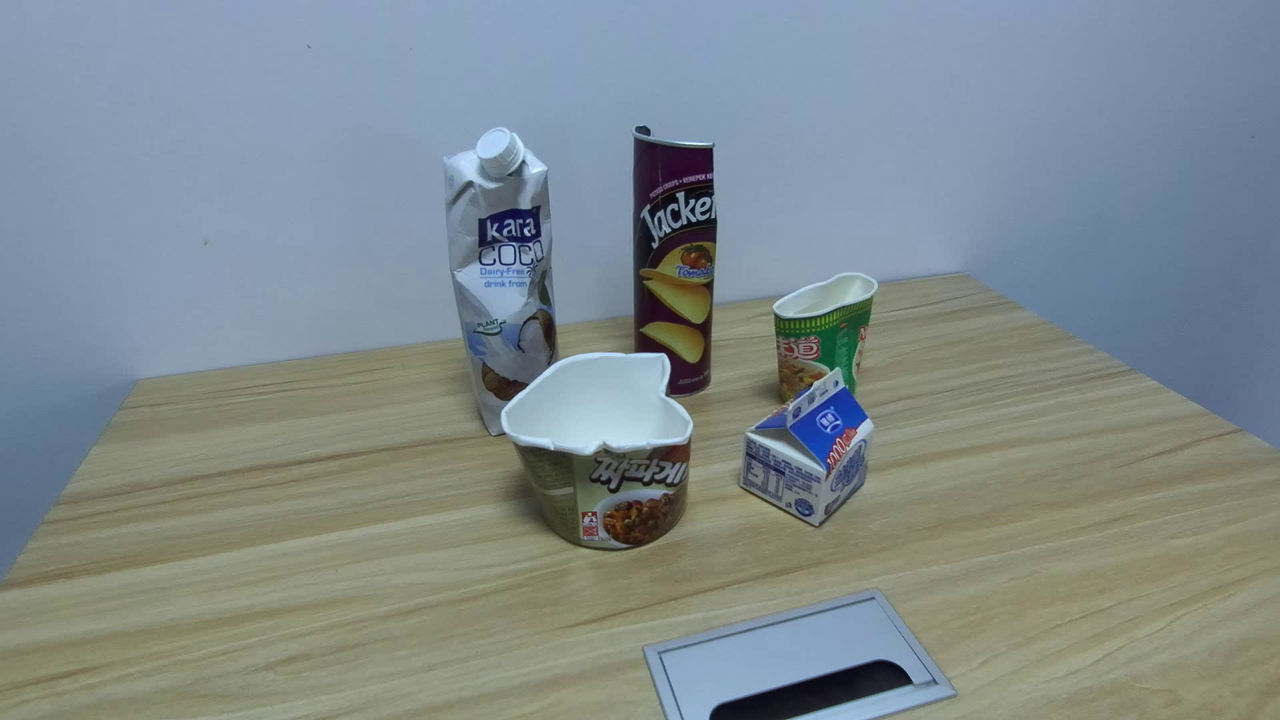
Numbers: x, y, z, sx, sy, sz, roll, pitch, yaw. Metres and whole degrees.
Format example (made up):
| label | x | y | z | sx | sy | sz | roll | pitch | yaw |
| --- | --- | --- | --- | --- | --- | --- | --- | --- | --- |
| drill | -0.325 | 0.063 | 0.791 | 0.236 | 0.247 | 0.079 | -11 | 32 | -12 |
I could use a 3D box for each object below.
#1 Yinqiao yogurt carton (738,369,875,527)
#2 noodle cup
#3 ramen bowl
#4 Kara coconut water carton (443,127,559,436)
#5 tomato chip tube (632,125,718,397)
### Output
| label | x | y | z | sx | sy | sz | roll | pitch | yaw |
| --- | --- | --- | --- | --- | --- | --- | --- | --- | --- |
| Yinqiao yogurt carton | 0.126 | 0.058 | 0.527 | 0.073 | 0.092 | 0.076 | 23 | 38 | 37 |
| noodle cup | 0.162 | -0.011 | 0.634 | 0.115 | 0.111 | 0.070 | -10 | 29 | -17 |
| ramen bowl | -0.030 | 0.066 | 0.512 | 0.134 | 0.097 | 0.113 | -6 | 32 | -12 |
| Kara coconut water carton | -0.111 | -0.063 | 0.583 | 0.083 | 0.256 | 0.078 | -5 | 31 | -10 |
| tomato chip tube | 0.032 | -0.084 | 0.639 | 0.076 | 0.235 | 0.077 | 2 | 28 | 6 |
